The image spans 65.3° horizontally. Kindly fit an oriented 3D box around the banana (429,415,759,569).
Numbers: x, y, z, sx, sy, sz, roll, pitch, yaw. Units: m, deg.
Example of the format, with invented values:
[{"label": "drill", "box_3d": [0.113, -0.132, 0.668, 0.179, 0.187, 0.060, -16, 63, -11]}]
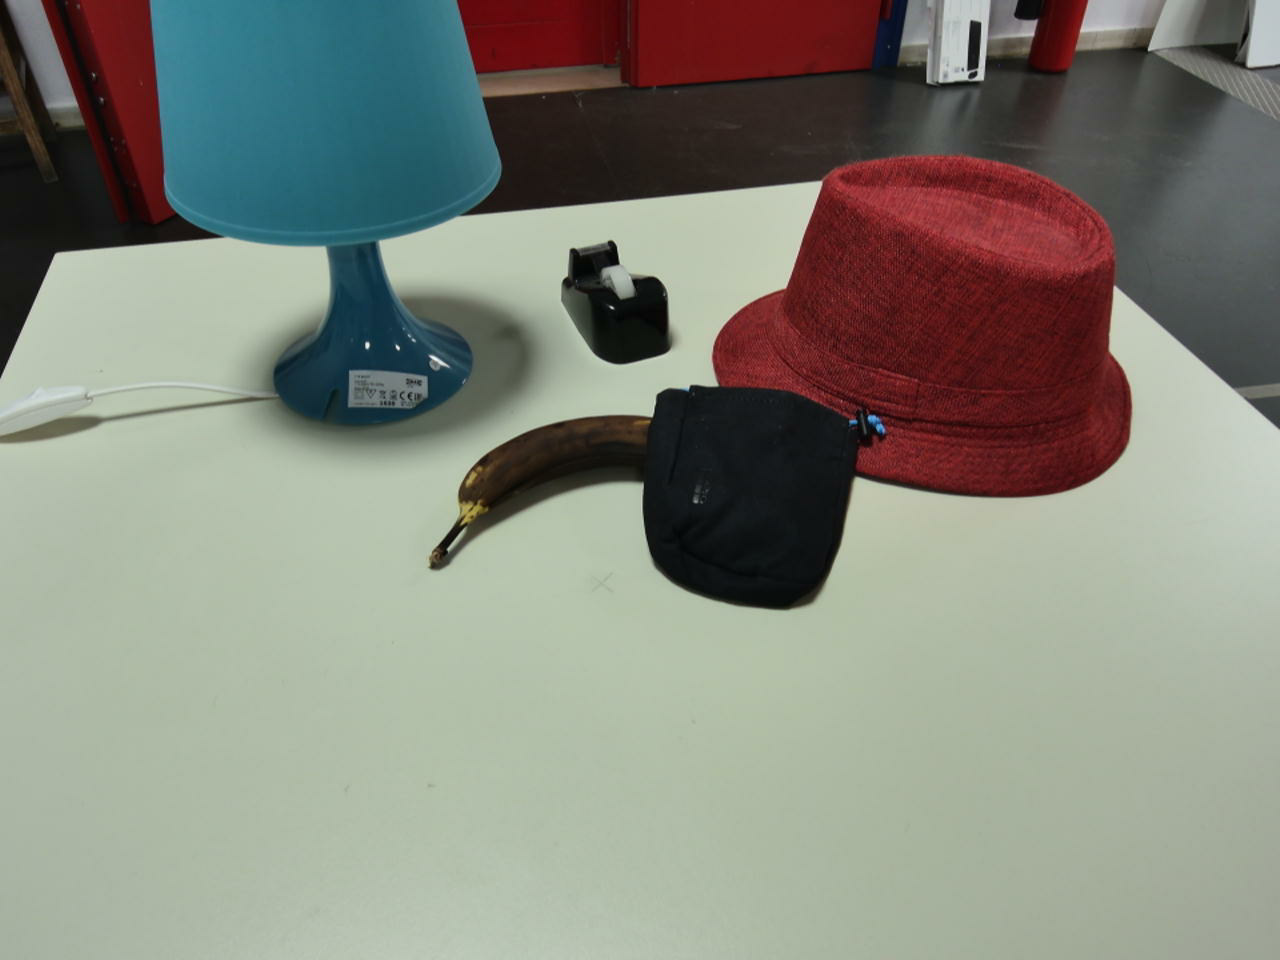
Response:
[{"label": "banana", "box_3d": [-0.030, -0.005, 0.580, 0.188, 0.034, 0.091, -7, 40, -9]}]
